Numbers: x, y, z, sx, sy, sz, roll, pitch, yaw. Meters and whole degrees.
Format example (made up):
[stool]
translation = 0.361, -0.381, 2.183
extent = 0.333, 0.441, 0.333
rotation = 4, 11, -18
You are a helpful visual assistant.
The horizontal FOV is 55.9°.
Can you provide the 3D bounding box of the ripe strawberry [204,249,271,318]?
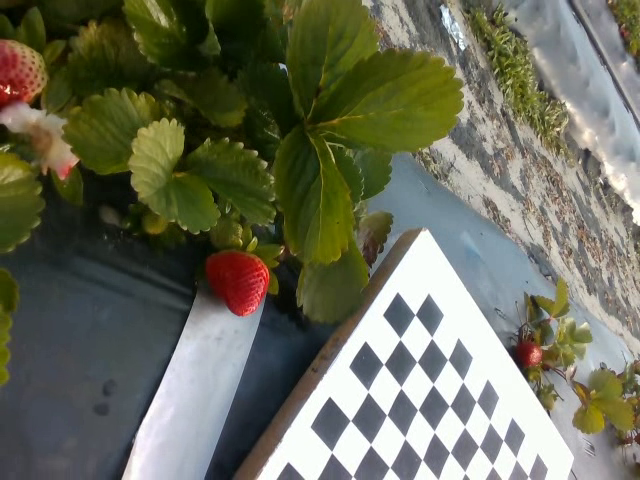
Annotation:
[ripe strawberry]
translation = -0.043, 0.028, 0.331
extent = 0.036, 0.050, 0.055
rotation = -18, 35, 30
